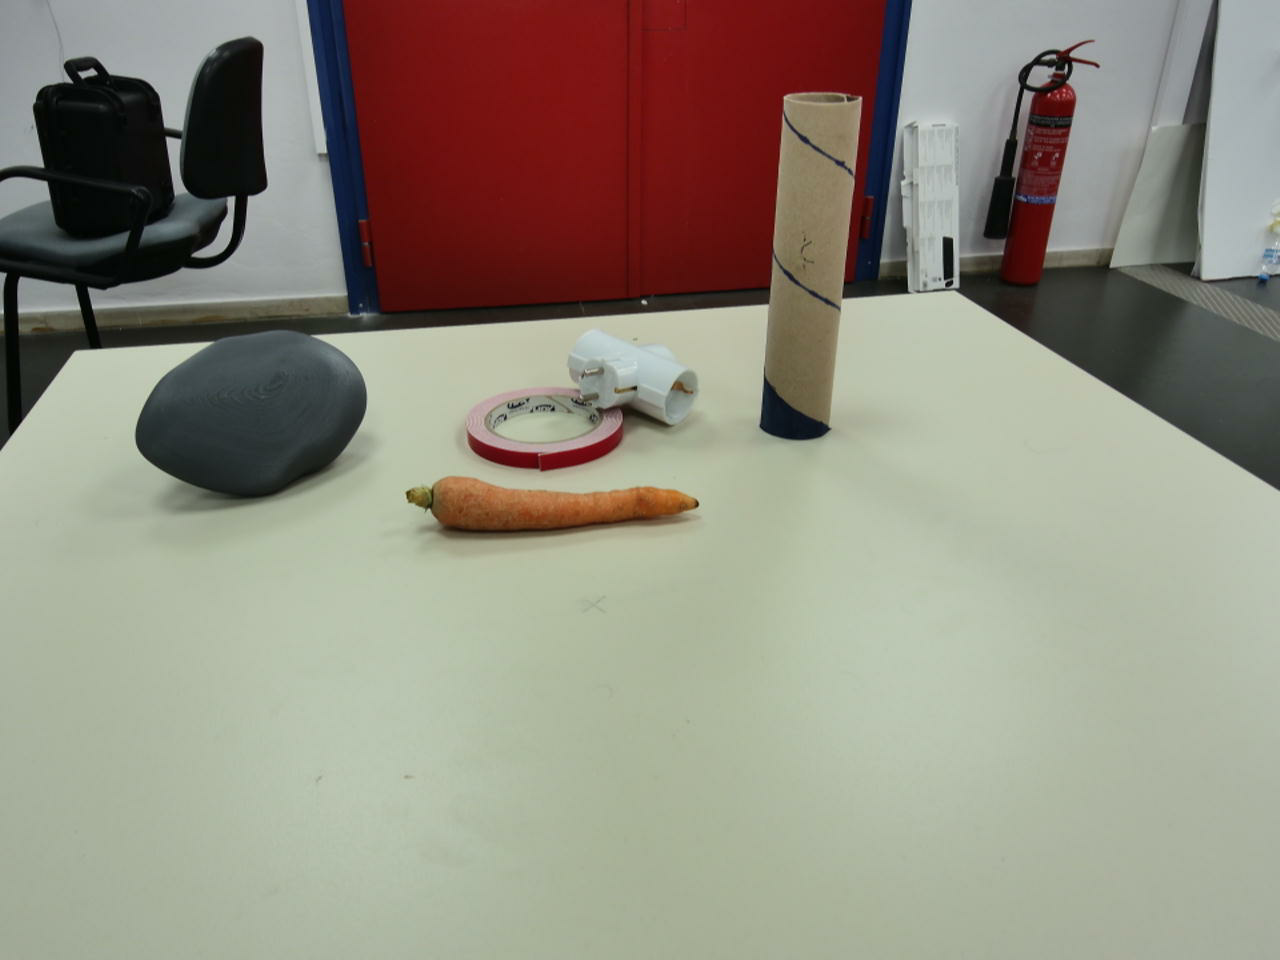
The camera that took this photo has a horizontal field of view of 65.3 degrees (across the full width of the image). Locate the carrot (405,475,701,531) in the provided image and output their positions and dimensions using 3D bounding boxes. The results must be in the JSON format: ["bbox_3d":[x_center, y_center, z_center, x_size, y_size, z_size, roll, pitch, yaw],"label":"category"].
[{"bbox_3d":[-0.048,0.012,0.582,0.173,0.032,0.030,-1,27,-3],"label":"carrot"}]
